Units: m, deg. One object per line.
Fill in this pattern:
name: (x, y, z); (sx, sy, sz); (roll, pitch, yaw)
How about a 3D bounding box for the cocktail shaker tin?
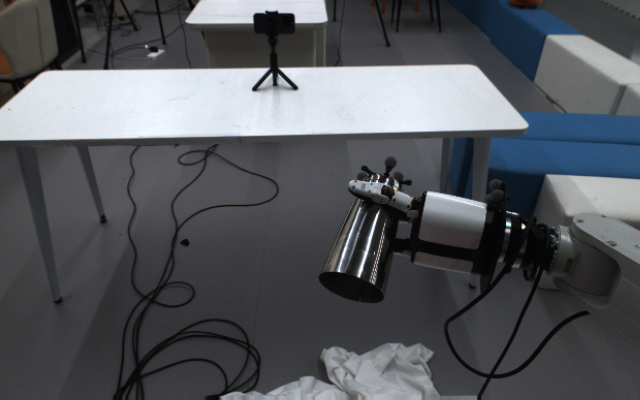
cocktail shaker tin: (0.068, 0.046, 0.690); (0.093, 0.093, 0.170); (13, 59, 16)
